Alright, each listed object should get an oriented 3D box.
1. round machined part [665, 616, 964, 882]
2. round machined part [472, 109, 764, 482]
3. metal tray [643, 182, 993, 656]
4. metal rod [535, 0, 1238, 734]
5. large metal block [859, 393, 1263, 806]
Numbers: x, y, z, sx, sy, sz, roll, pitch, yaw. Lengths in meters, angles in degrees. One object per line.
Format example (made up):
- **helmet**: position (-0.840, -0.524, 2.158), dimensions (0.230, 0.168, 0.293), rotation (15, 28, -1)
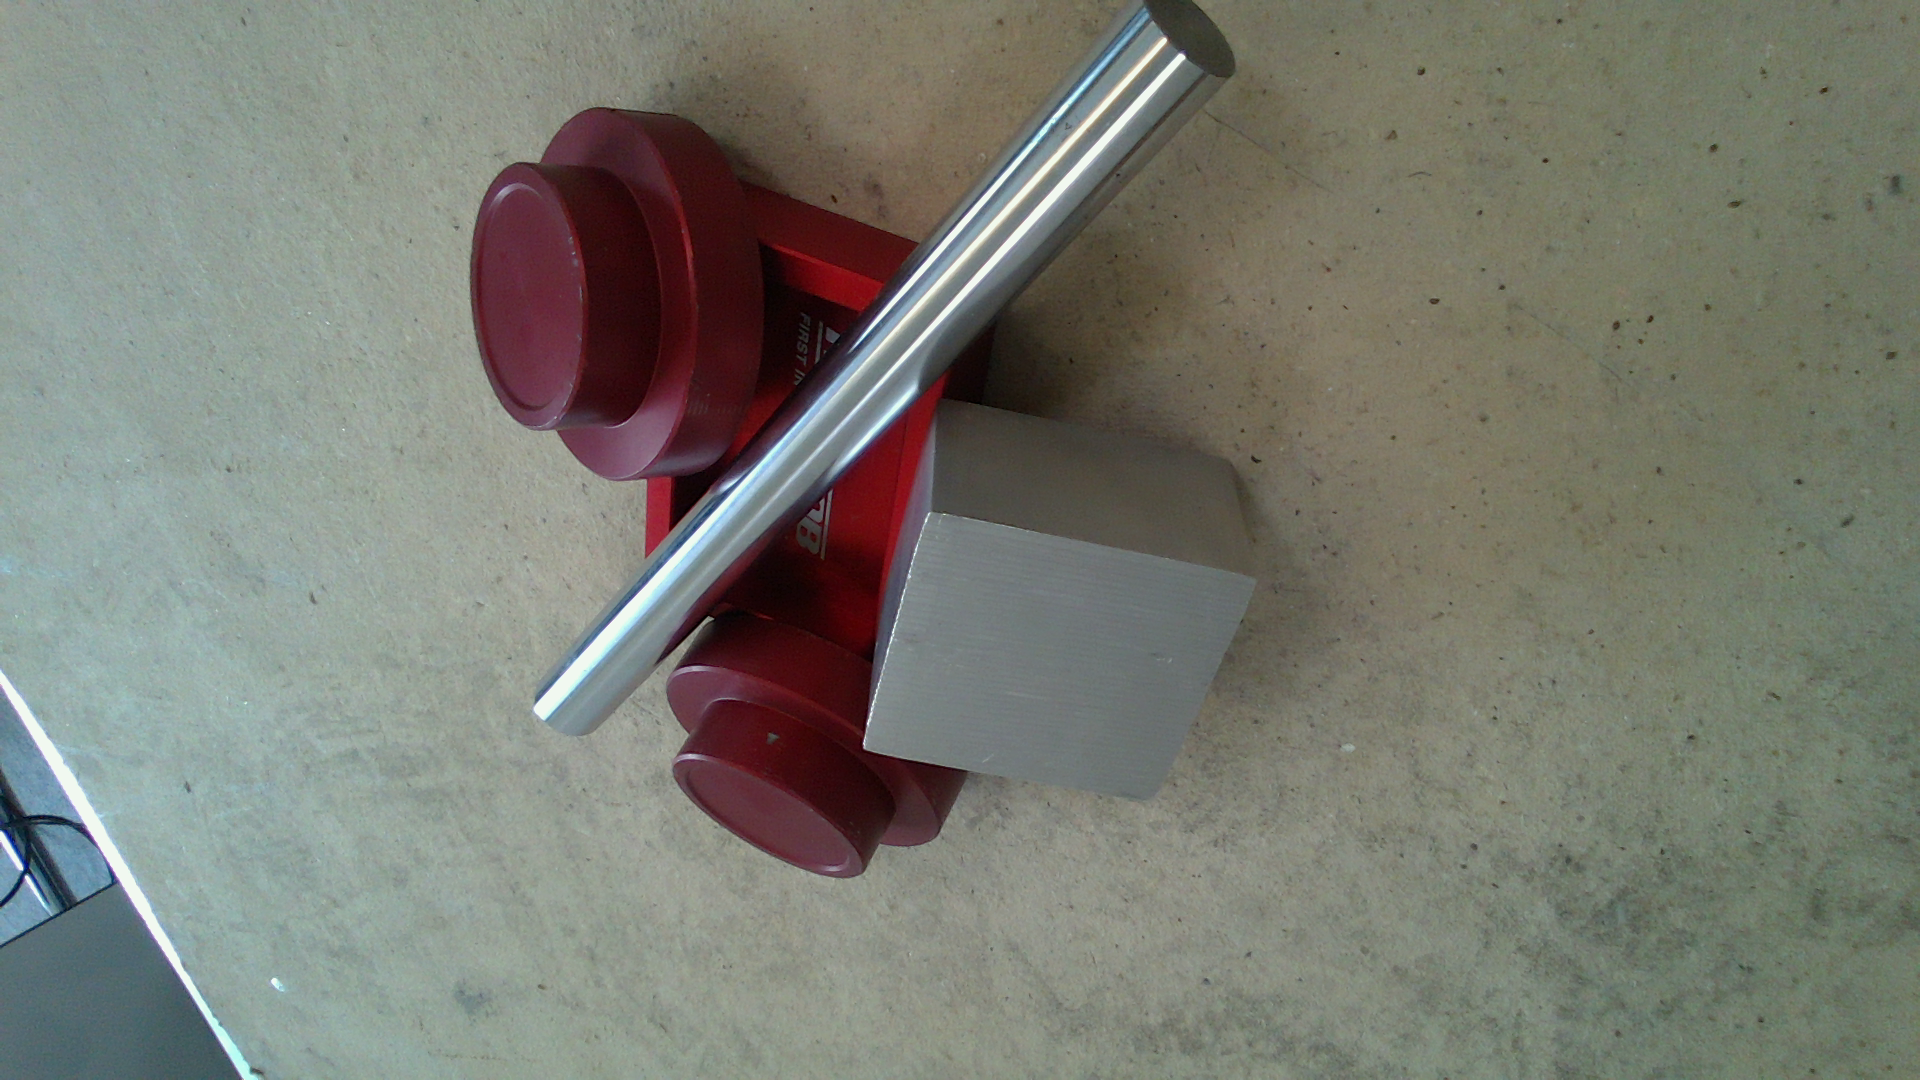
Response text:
- **round machined part**: position (-0.050, 0.071, 0.430), dimensions (0.098, 0.042, 0.098), rotation (21, 148, 14)
- **round machined part**: position (-0.097, -0.064, 0.368), dimensions (0.098, 0.042, 0.098), rotation (12, 106, 48)
- **metal tray**: position (-0.044, -0.028, 0.397), dimensions (0.090, 0.030, 0.130), rotation (22, 127, 15)
- **metal rod**: position (-0.042, -0.024, 0.363), dimensions (0.025, 0.025, 0.299), rotation (46, 129, -4)
- **large metal block**: position (0.023, 0.017, 0.357), dimensions (0.080, 0.050, 0.080), rotation (11, 127, -7)
